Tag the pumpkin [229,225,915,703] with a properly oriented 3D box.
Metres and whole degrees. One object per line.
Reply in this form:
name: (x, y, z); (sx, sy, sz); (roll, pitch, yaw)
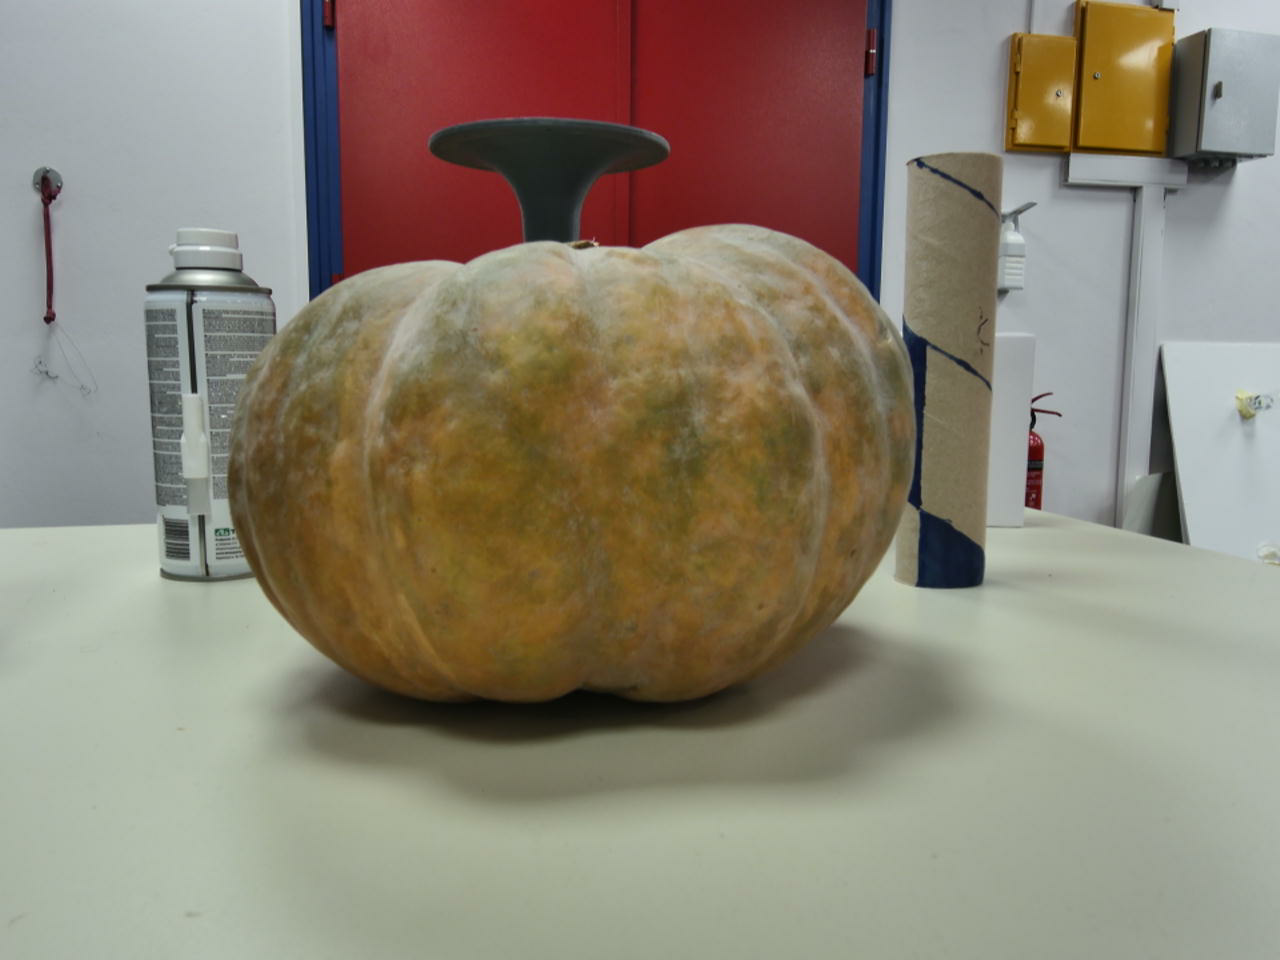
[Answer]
pumpkin: (-0.026, -0.010, 0.380); (0.252, 0.168, 0.252); (0, 5, 0)
